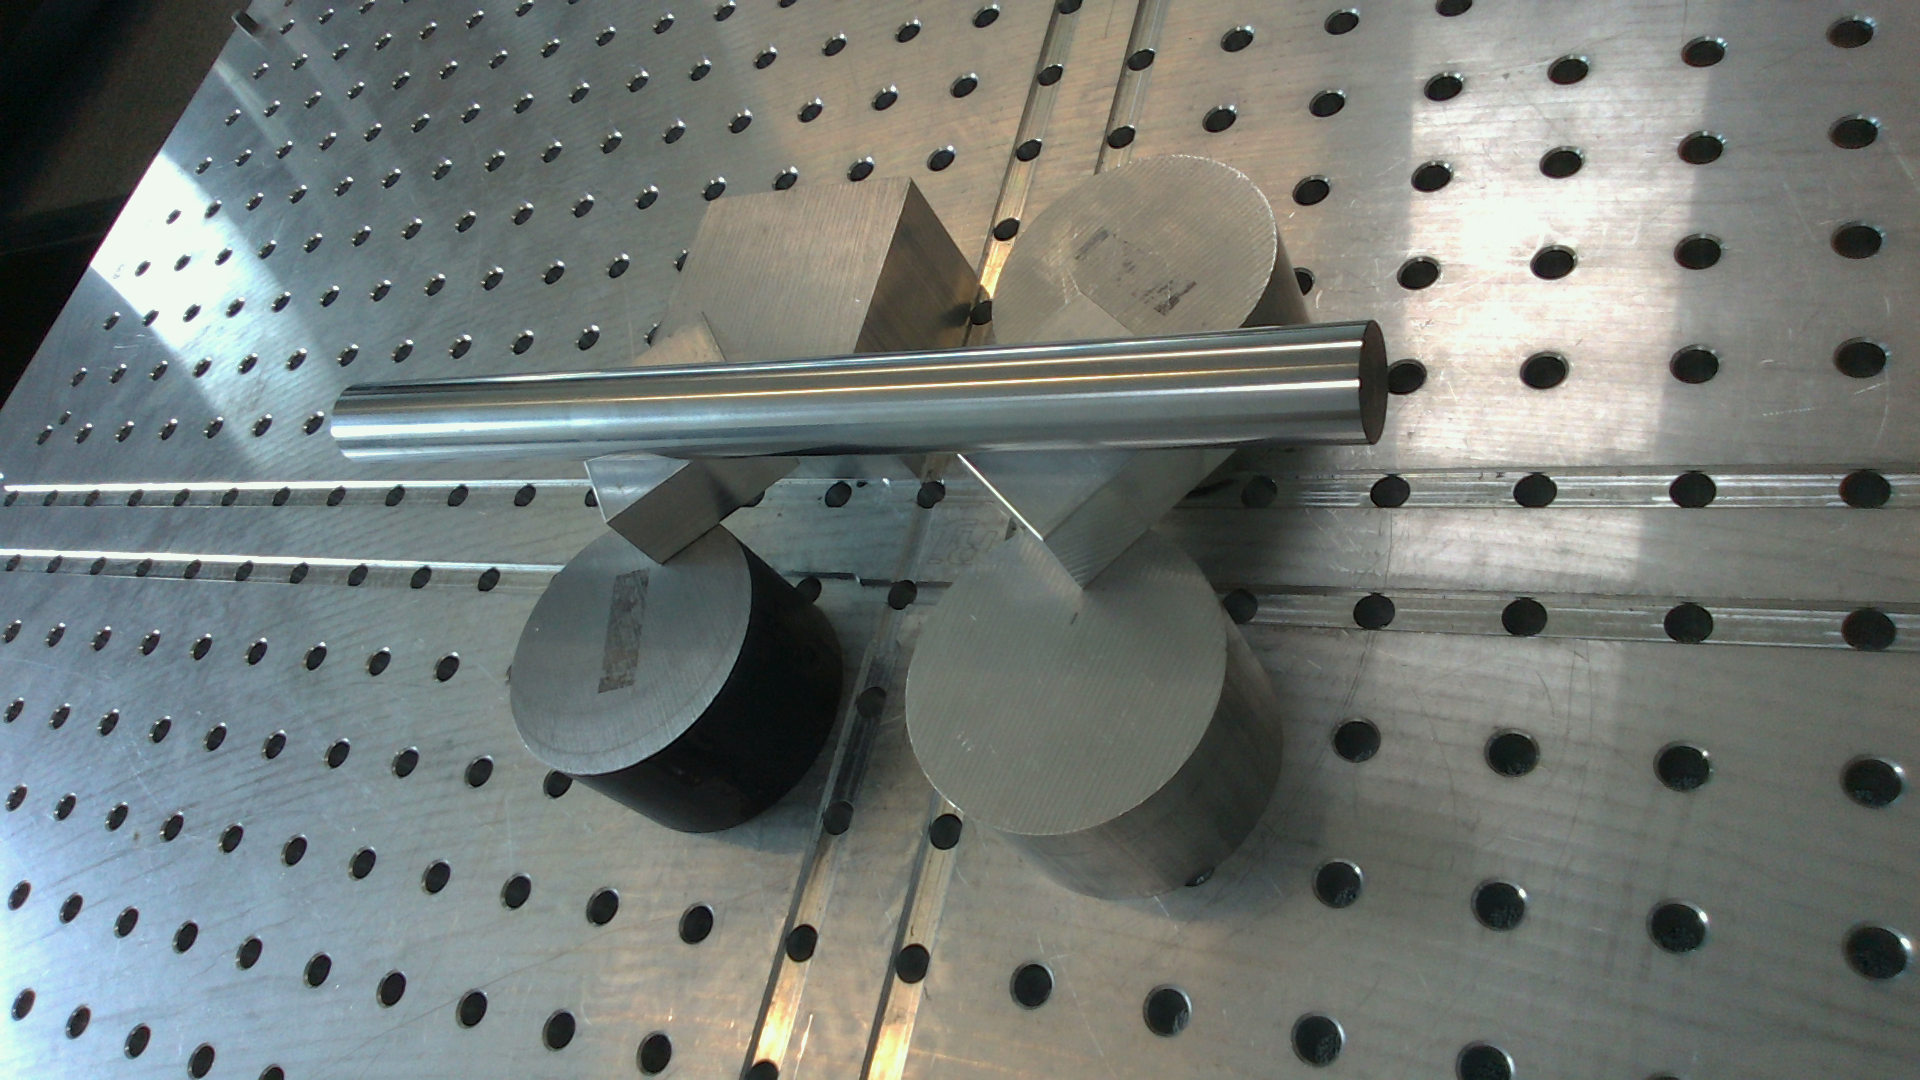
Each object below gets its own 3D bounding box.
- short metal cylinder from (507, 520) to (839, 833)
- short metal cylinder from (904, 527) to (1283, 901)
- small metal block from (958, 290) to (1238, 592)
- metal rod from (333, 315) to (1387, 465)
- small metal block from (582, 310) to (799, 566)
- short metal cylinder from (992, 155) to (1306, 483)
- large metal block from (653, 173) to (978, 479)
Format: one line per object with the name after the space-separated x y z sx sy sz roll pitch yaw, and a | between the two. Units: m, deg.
-0.083 0.038 0.400 0.080 0.050 0.080 -13 56 21 | short metal cylinder
0.033 0.042 0.337 0.080 0.050 0.080 -13 56 21 | short metal cylinder
0.029 -0.025 0.332 0.050 0.025 0.050 -42 51 -1 | small metal block
-0.048 -0.034 0.346 0.299 0.025 0.025 1 62 29 | metal rod
-0.081 -0.030 0.394 0.050 0.025 0.050 -35 51 5 | small metal block
0.056 -0.061 0.388 0.080 0.050 0.080 -13 56 21 | short metal cylinder
-0.049 -0.067 0.448 0.080 0.050 0.080 1 62 29 | large metal block
